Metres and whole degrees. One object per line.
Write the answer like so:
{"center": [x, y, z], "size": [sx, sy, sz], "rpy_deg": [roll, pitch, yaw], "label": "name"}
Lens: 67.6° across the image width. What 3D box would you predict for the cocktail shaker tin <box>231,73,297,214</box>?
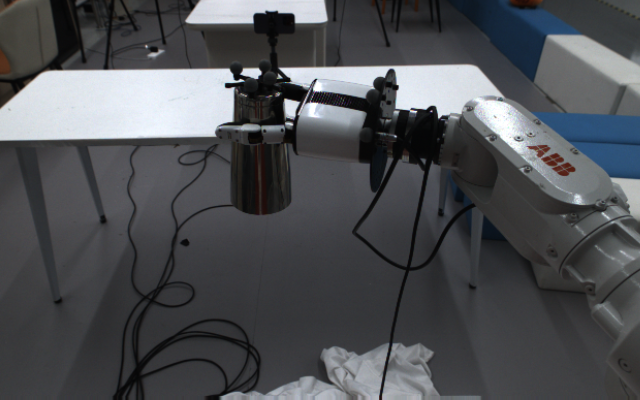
{"center": [-0.082, -0.079, 0.682], "size": [0.093, 0.170, 0.093], "rpy_deg": [2, 33, -2], "label": "cocktail shaker tin"}
